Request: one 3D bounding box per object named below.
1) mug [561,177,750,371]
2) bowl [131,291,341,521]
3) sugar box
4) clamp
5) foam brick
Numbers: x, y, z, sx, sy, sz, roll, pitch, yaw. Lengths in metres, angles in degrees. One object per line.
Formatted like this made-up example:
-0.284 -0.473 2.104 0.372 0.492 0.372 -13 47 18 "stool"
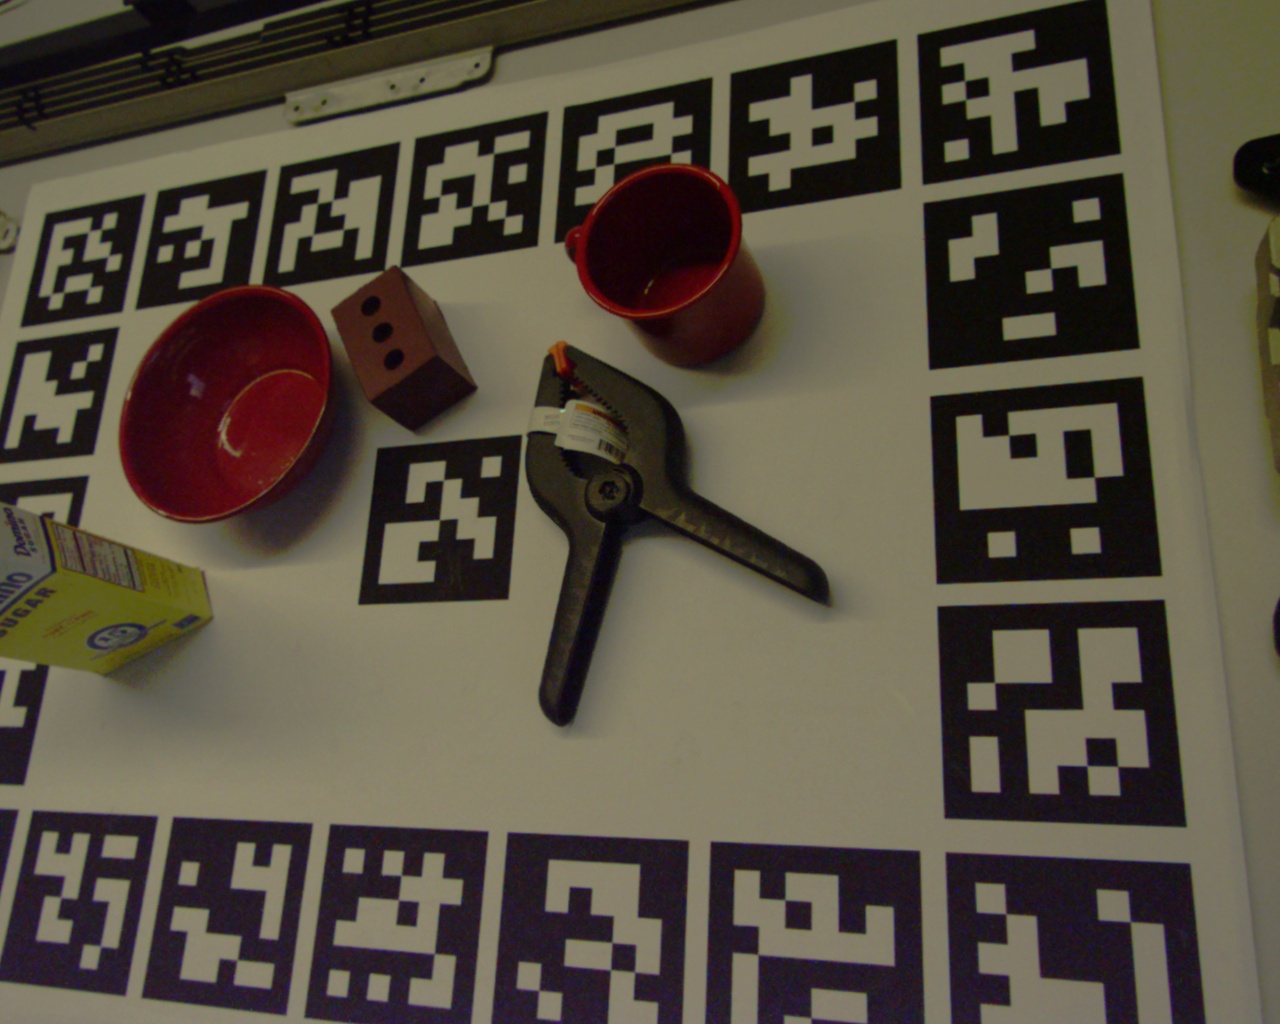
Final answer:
0.007 -0.137 0.668 0.118 0.081 0.093 24 84 22 "mug"
-0.259 -0.064 0.767 0.163 0.054 0.162 -6 72 19 "bowl"
-0.353 0.053 0.702 0.093 0.174 0.045 -28 69 9 "sugar box"
-0.021 -0.007 0.660 0.166 0.036 0.204 -28 67 14 "clamp"
-0.146 -0.096 0.741 0.053 0.051 0.078 -31 67 11 "foam brick"
